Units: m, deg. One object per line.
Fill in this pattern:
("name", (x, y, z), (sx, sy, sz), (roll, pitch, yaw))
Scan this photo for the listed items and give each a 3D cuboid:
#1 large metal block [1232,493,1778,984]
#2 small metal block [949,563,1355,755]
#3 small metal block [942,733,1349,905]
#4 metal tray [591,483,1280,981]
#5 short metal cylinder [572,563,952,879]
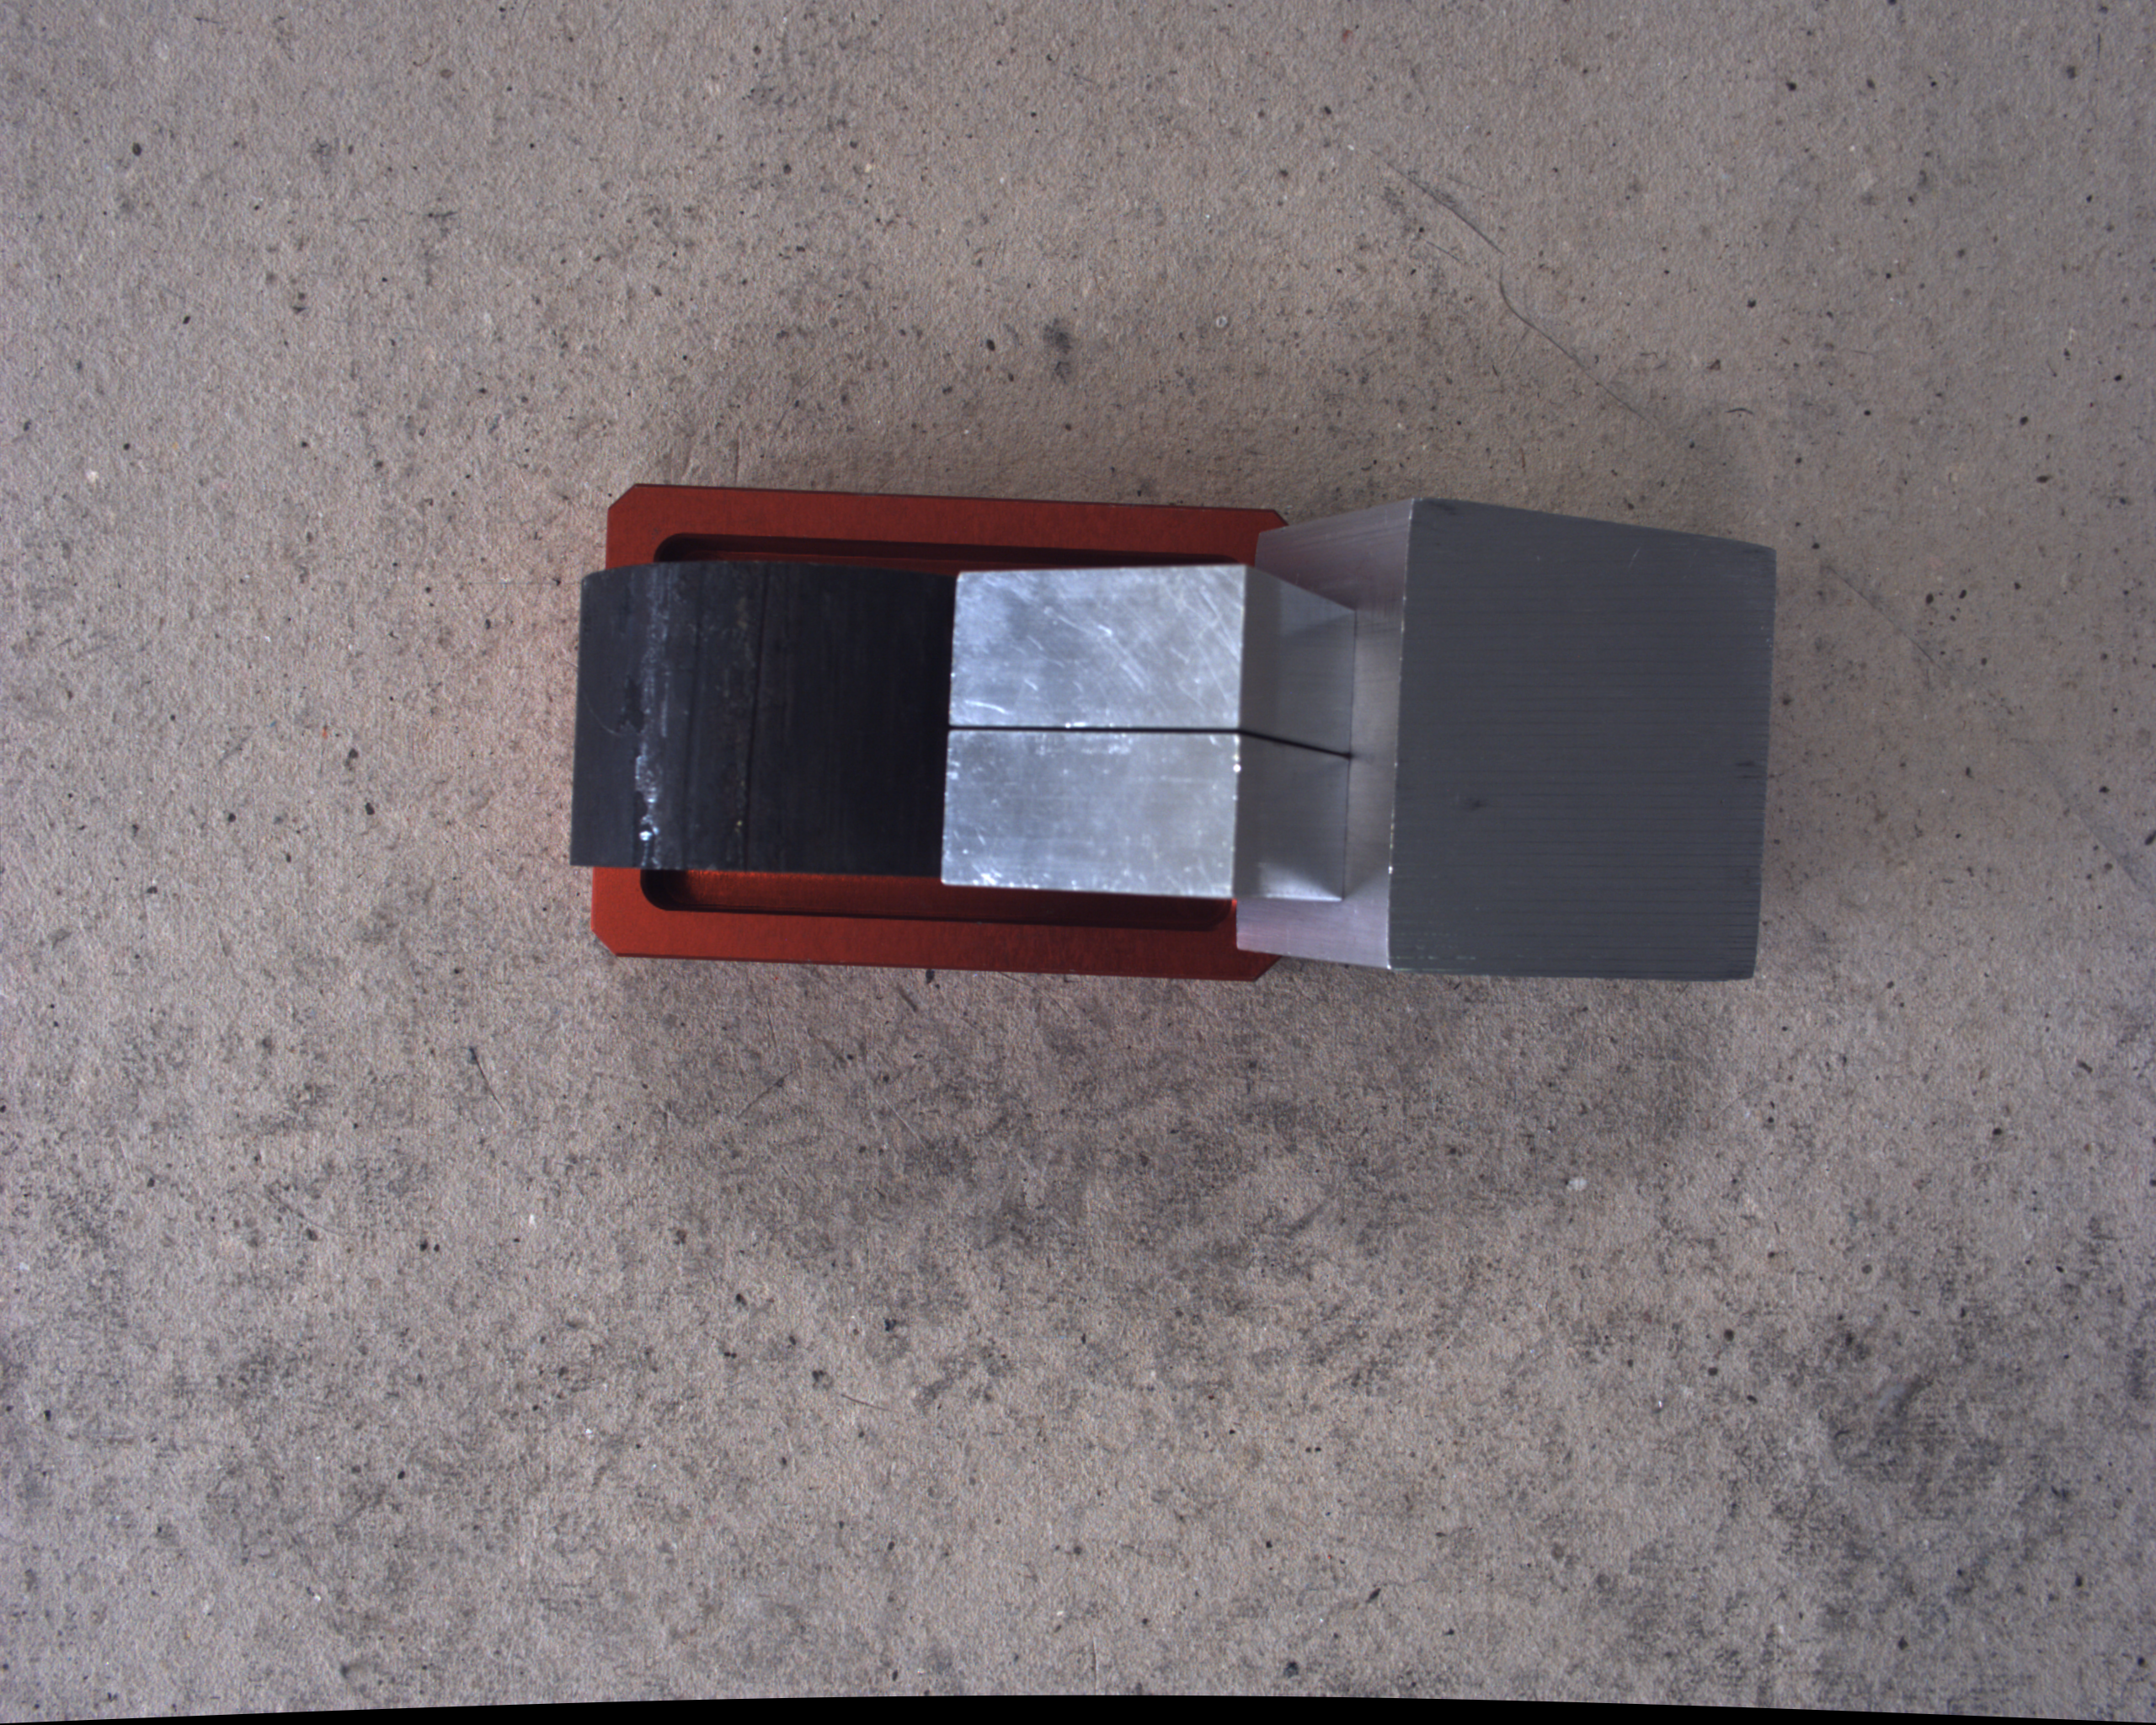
("large metal block", (0.078, -0.020, 0.385), (0.081, 0.050, 0.080), (3, 90, -26))
("small metal block", (0.013, -0.033, 0.346), (0.050, 0.050, 0.025), (2, 89, 26))
("small metal block", (0.012, -0.007, 0.346), (0.050, 0.050, 0.025), (2, 89, 26))
("metal tray", (-0.025, -0.025, 0.408), (0.131, 0.030, 0.089), (2, 90, 0))
("short metal cylinder", (-0.048, -0.023, 0.370), (0.081, 0.080, 0.050), (1, 90, 0))
